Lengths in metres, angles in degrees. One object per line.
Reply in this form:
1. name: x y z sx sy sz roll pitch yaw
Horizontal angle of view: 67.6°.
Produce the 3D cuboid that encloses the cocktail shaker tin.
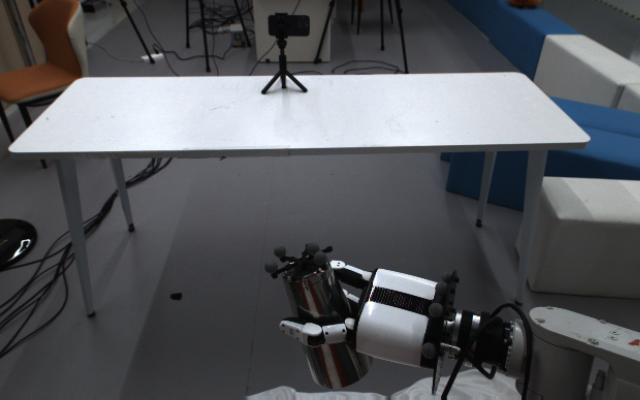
1. cocktail shaker tin: 0.005 0.163 0.670 0.093 0.170 0.093 -17 20 6
